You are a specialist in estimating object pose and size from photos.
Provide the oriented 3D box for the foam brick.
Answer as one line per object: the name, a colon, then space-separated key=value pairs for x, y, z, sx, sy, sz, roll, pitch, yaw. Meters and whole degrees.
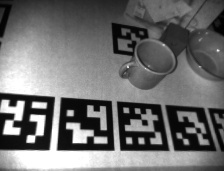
foam brick: x=0.143 y=-0.112 z=0.534 sx=0.053 sy=0.078 sz=0.051 roll=18 pitch=57 yaw=-6

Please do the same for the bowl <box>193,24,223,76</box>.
bowl: x=0.264 y=-0.077 z=0.549 sx=0.163 sy=0.055 sz=0.161 roll=8 pitch=60 yaw=-14

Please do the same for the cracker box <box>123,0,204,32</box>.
cracker box: x=0.141 y=-0.236 z=0.519 sx=0.164 sy=0.213 sz=0.072 roll=30 pitch=55 yaw=0

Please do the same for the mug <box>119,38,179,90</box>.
mug: x=0.071 y=-0.043 z=0.459 sx=0.118 sy=0.081 sz=0.092 roll=-4 pitch=54 yaw=-18

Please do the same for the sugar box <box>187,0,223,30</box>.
sugar box: x=0.243 y=-0.231 z=0.570 sx=0.093 sy=0.176 sz=0.045 roll=22 pitch=57 yaw=-3
